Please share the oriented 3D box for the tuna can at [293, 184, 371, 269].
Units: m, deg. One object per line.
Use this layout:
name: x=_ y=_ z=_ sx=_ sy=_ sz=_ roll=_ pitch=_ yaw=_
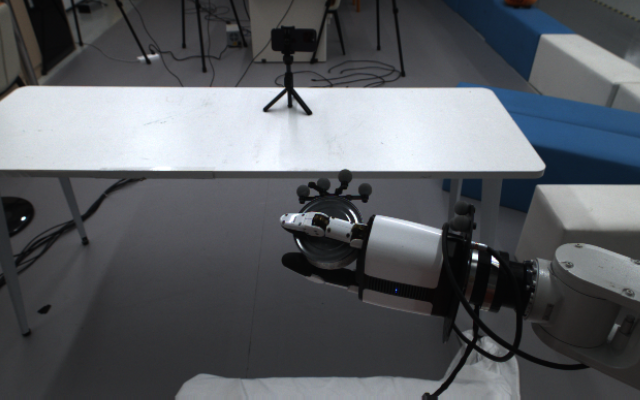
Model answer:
tuna can: x=0.013 y=0.039 z=0.587 sx=0.085 sy=0.034 sz=0.085 roll=-6 pitch=61 yaw=10
